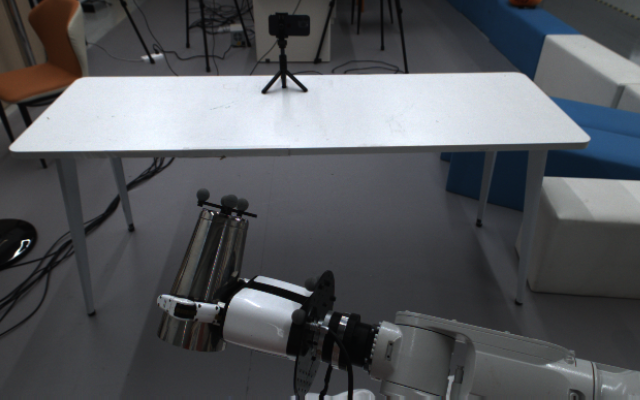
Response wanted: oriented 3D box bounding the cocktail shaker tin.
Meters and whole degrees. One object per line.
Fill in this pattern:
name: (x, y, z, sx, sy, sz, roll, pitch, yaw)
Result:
cocktail shaker tin: (-0.147, 0.102, 0.641, 0.093, 0.170, 0.093, 14, -4, 1)
